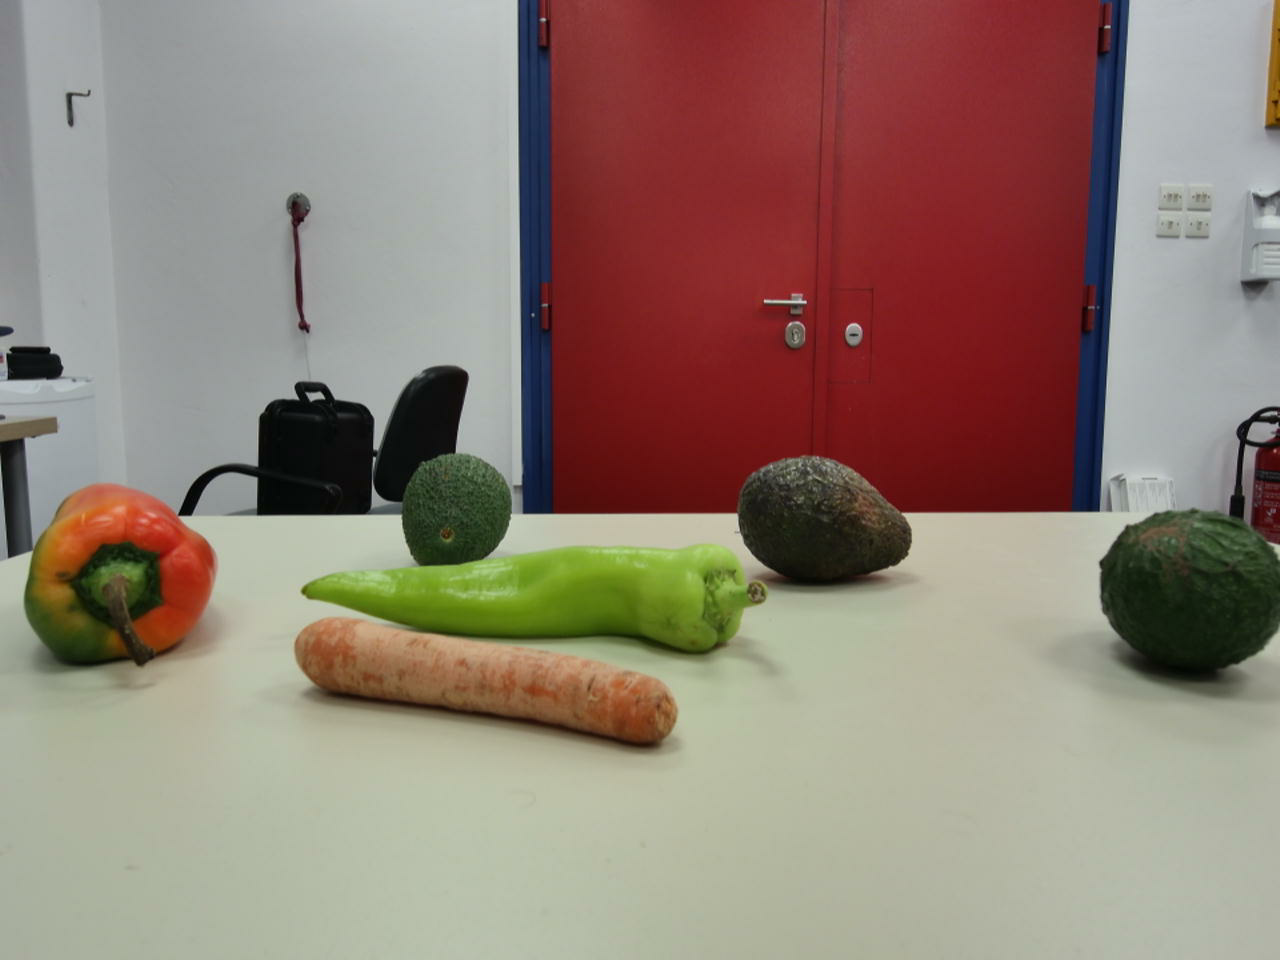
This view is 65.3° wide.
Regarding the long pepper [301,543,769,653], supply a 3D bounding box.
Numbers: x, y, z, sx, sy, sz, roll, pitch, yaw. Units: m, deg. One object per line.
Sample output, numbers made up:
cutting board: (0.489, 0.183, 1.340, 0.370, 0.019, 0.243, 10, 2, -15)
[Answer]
long pepper: (-0.042, 0.049, 0.441, 0.205, 0.045, 0.065, 1, 4, 16)
